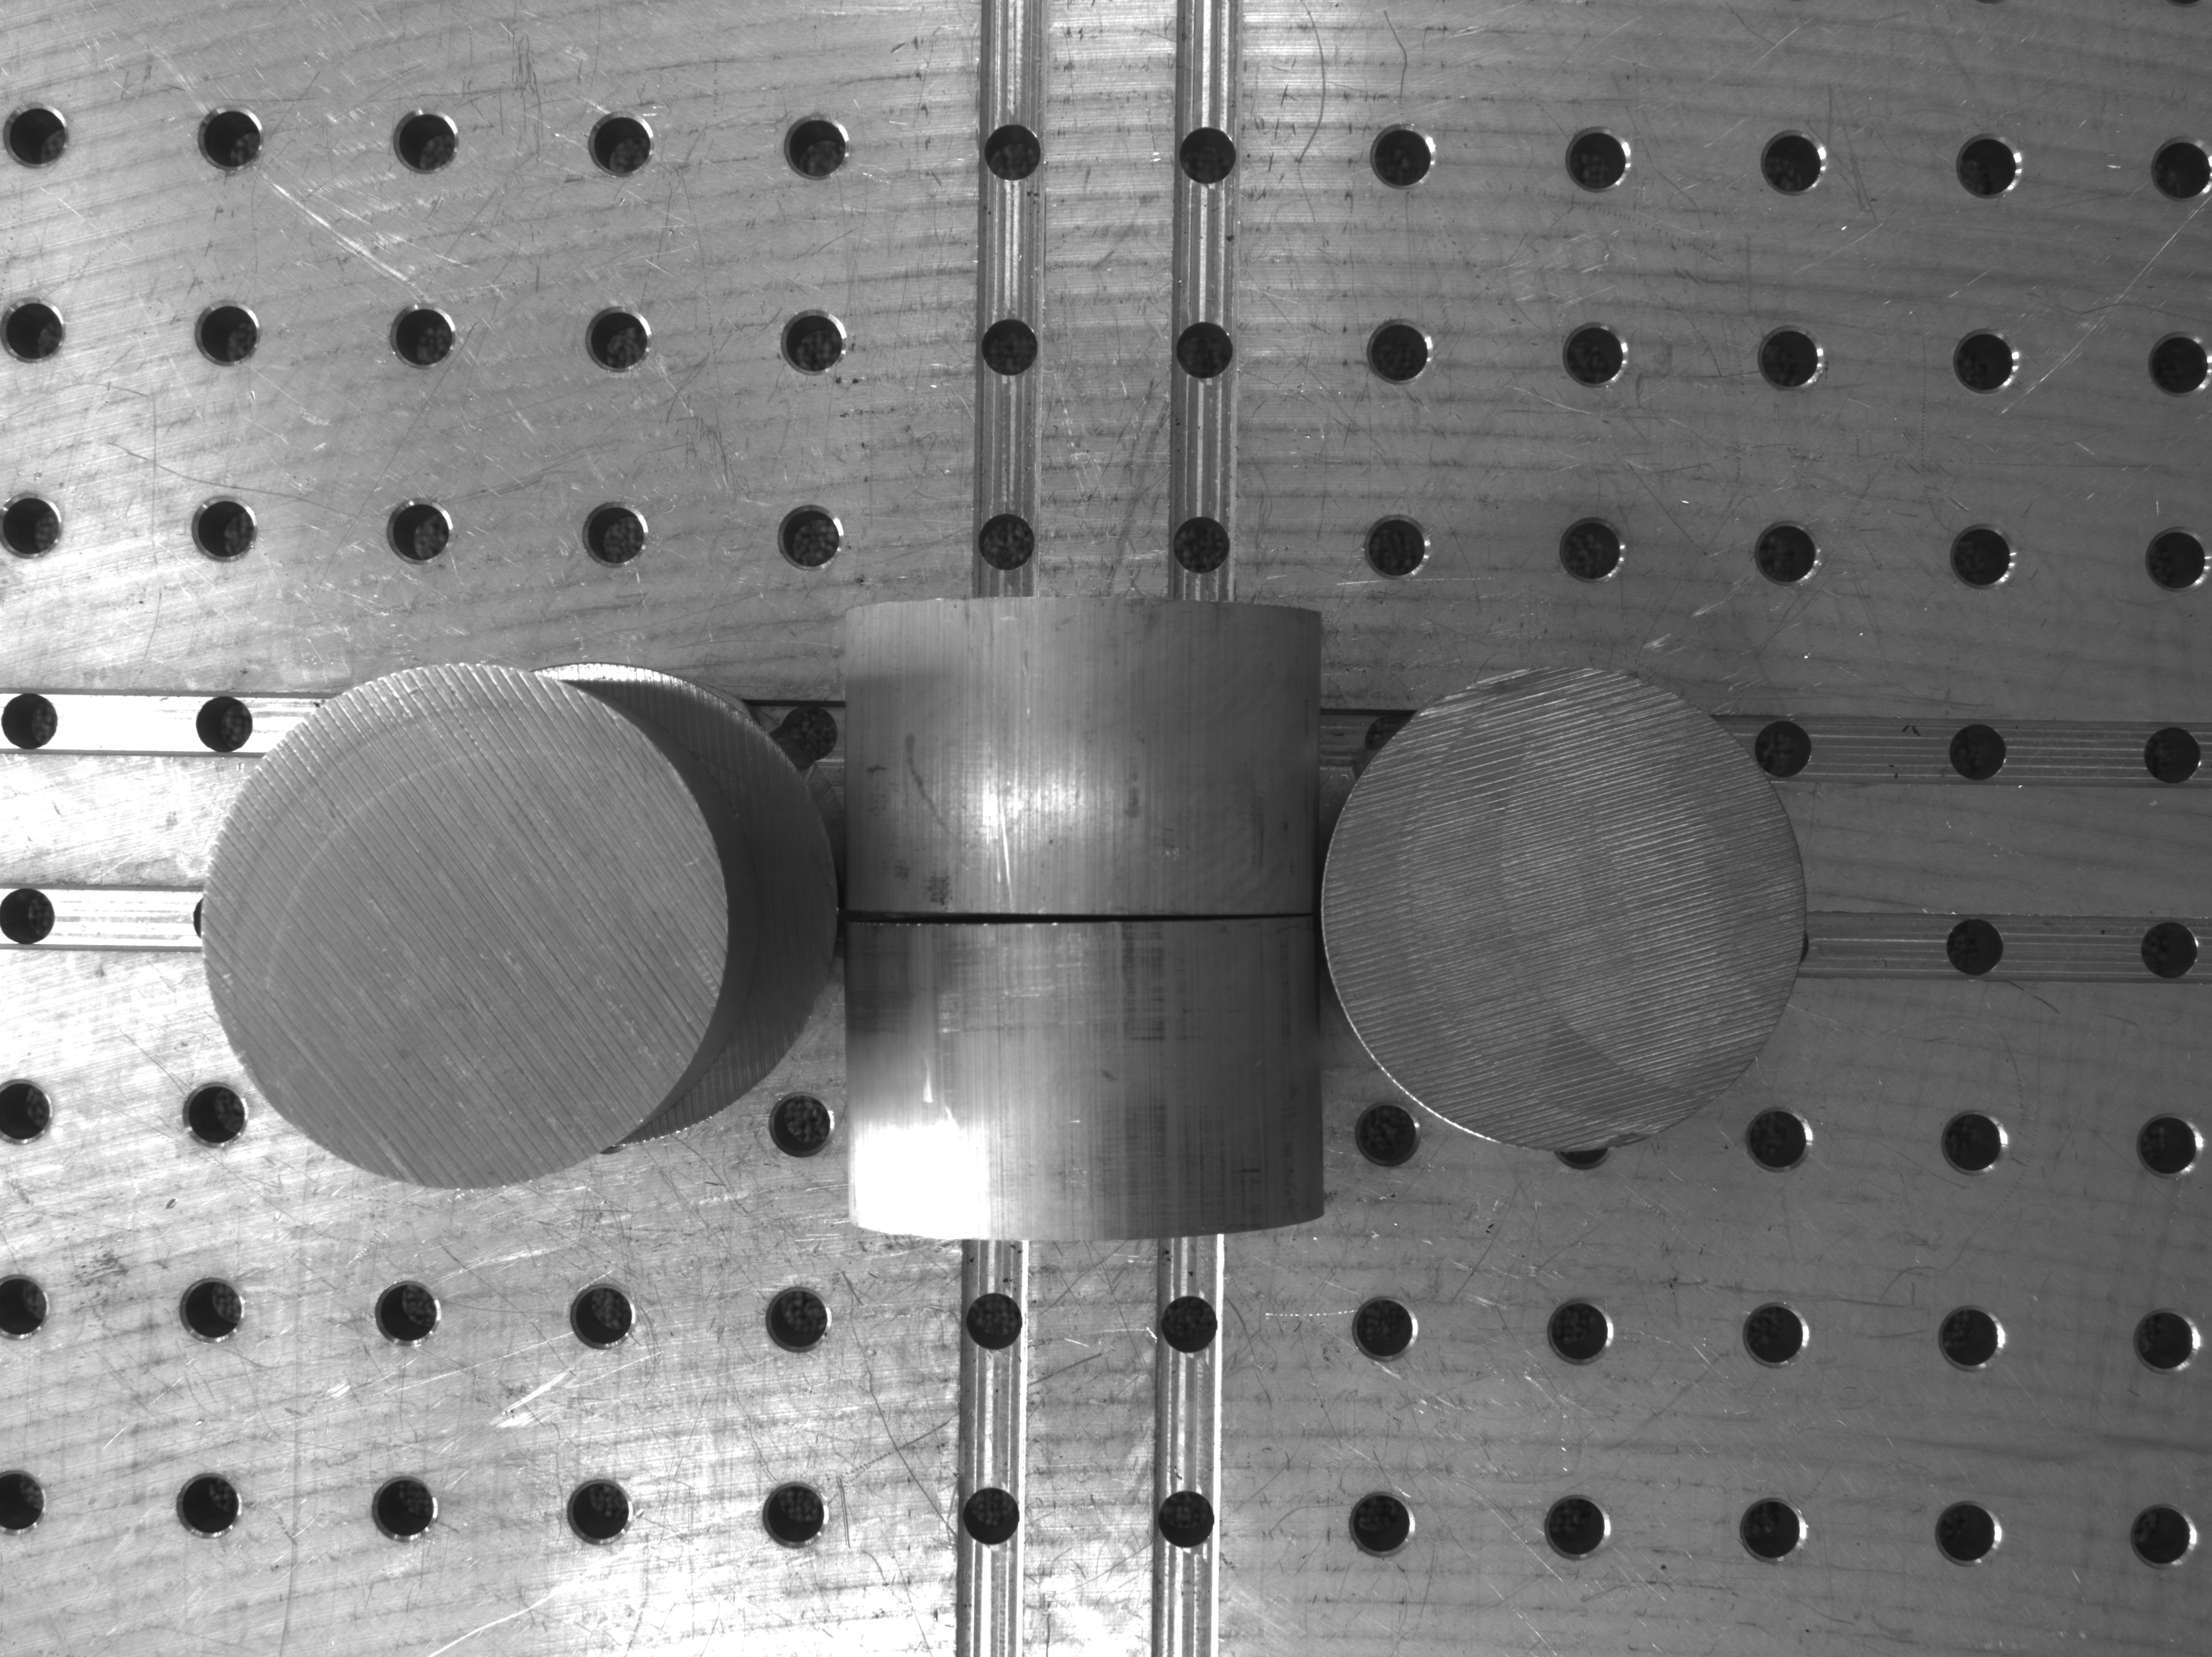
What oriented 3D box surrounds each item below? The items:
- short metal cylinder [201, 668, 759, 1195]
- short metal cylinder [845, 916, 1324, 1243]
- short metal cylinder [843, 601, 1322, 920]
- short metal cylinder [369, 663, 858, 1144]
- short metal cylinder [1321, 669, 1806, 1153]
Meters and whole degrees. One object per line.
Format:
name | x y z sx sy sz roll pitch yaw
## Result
short metal cylinder | -0.097 0.016 0.584 0.080 0.050 0.080 0 90 0
short metal cylinder | -0.003 0.040 0.620 0.080 0.080 0.050 -1 90 0
short metal cylinder | -0.004 -0.011 0.621 0.080 0.080 0.050 1 91 0
short metal cylinder | -0.084 0.013 0.635 0.080 0.050 0.080 0 90 0
short metal cylinder | 0.076 0.014 0.635 0.080 0.050 0.080 0 90 0
